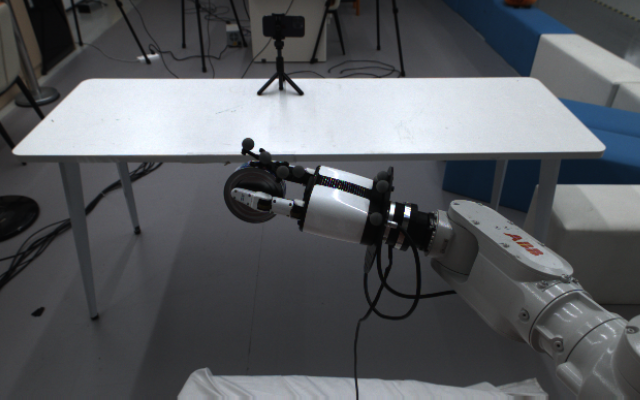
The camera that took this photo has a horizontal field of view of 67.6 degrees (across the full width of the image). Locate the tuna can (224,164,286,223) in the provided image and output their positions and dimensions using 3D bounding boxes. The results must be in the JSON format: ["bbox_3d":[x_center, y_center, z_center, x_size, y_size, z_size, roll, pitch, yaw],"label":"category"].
[{"bbox_3d":[-0.092,-0.011,0.699,0.085,0.085,0.034,4,20,3],"label":"tuna can"}]
